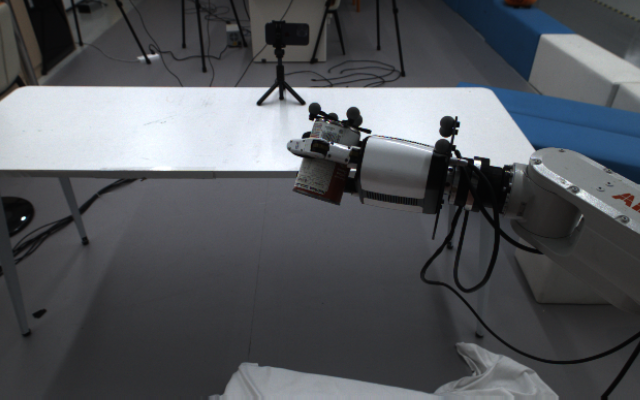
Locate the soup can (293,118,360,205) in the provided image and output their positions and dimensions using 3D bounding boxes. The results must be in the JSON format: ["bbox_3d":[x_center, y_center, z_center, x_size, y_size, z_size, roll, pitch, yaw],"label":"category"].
[{"bbox_3d":[0.010,-0.051,0.654,0.067,0.101,0.067,17,-1,0],"label":"soup can"}]
